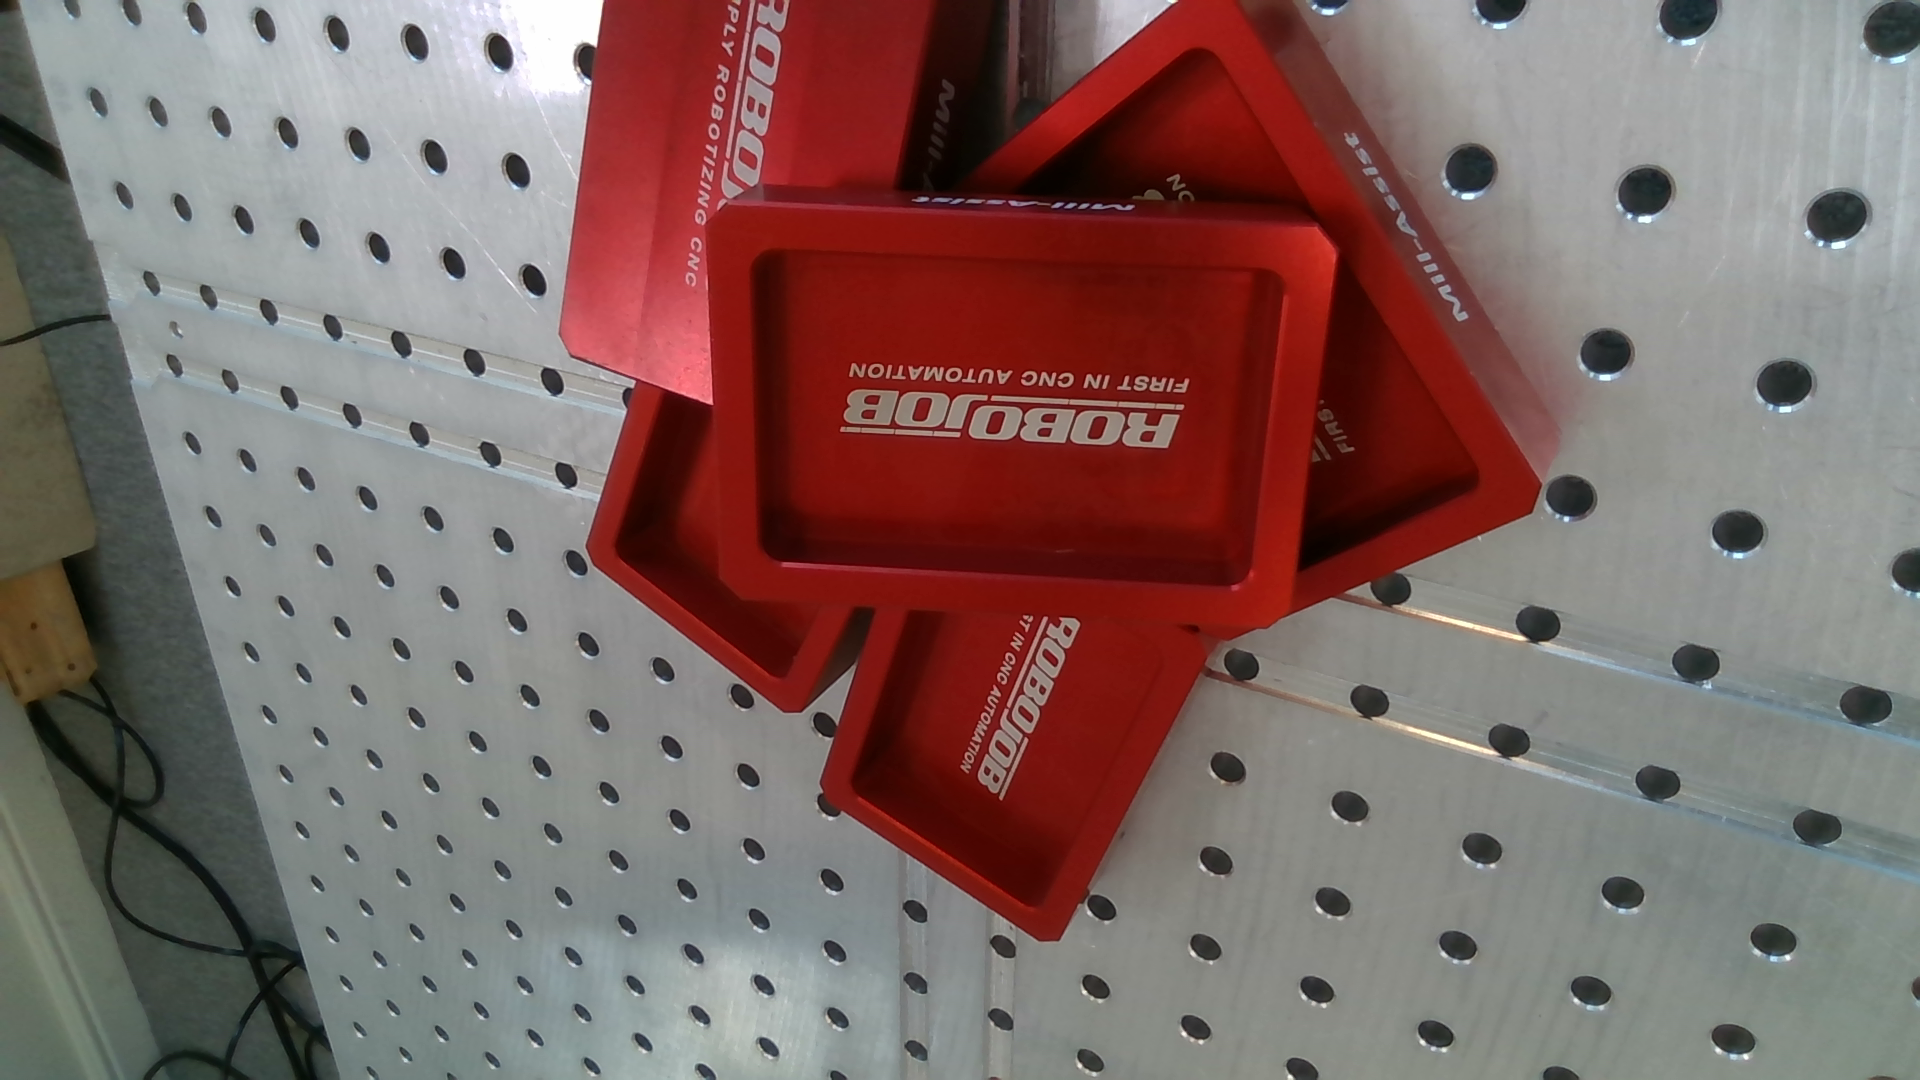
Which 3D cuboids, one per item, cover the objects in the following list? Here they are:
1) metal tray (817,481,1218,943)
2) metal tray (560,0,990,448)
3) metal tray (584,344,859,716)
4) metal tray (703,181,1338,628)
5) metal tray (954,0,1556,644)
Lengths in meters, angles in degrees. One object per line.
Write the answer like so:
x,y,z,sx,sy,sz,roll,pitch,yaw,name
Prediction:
0.015,0.048,0.404,0.090,0.030,0.130,31,127,15,metal tray
-0.048,-0.098,0.342,0.090,0.030,0.130,21,110,21,metal tray
-0.057,-0.019,0.411,0.090,0.030,0.130,36,128,10,metal tray
0.011,-0.030,0.309,0.130,0.030,0.090,3,111,3,metal tray
0.063,-0.049,0.321,0.090,0.030,0.130,-30,97,38,metal tray
